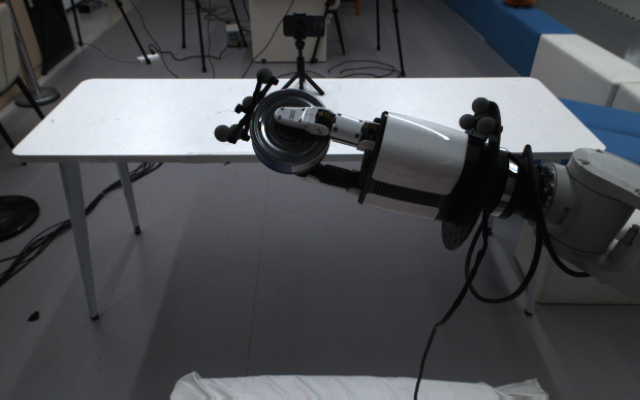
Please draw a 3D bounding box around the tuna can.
[{"bbox_3d":[-0.027,-0.068,0.509,0.085,0.034,0.085,1,76,-6],"label":"tuna can"}]
